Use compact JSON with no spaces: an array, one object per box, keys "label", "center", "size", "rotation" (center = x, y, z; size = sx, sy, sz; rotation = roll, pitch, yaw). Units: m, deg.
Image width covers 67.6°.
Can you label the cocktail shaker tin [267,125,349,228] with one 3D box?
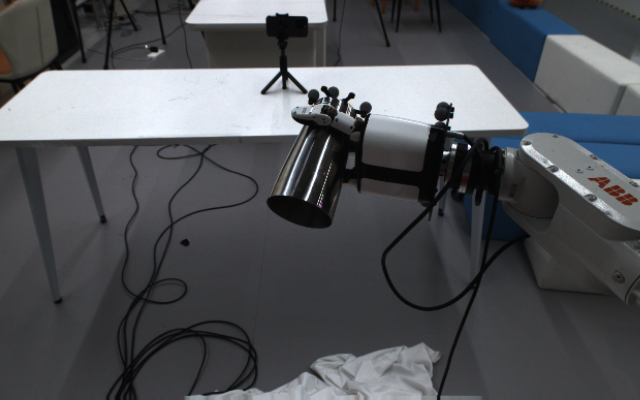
[{"label":"cocktail shaker tin","center":[0.000,-0.060,0.672],"size":[0.093,0.093,0.170],"rotation":[13,65,15]}]
